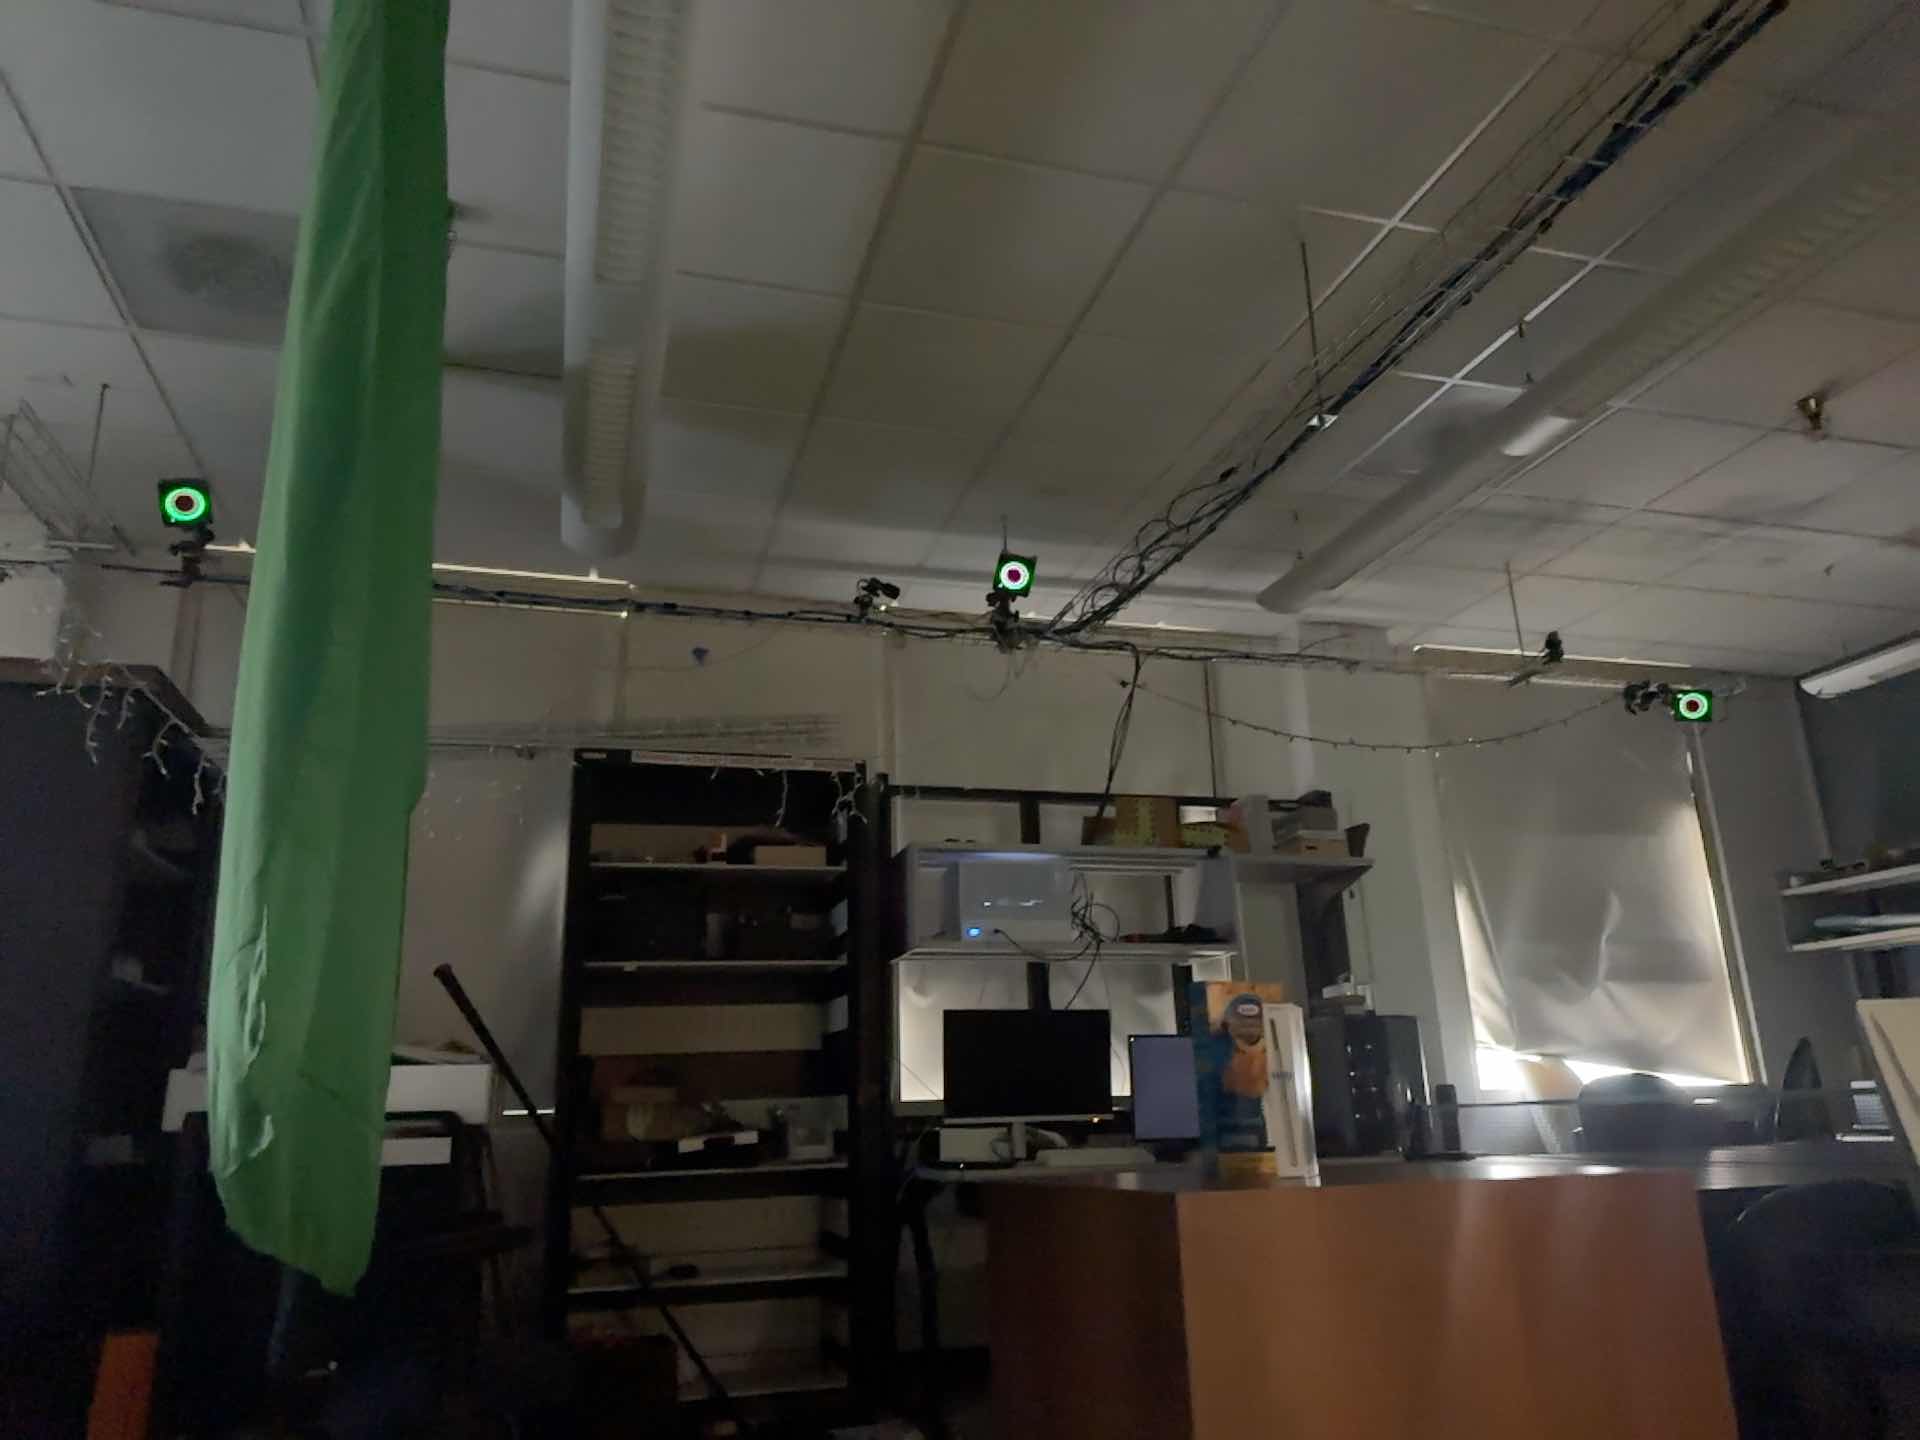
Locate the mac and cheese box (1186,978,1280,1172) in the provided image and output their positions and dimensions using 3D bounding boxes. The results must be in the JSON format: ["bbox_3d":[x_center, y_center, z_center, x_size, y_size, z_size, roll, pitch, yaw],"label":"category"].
[{"bbox_3d":[0.281,0.354,1.347,0.088,0.181,0.035,5,-18,-22],"label":"mac and cheese box"}]

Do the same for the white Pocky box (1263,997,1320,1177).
[{"bbox_3d":[0.302,0.333,1.223,0.028,0.154,0.084,-8,-17,22],"label":"white Pocky box"}]
